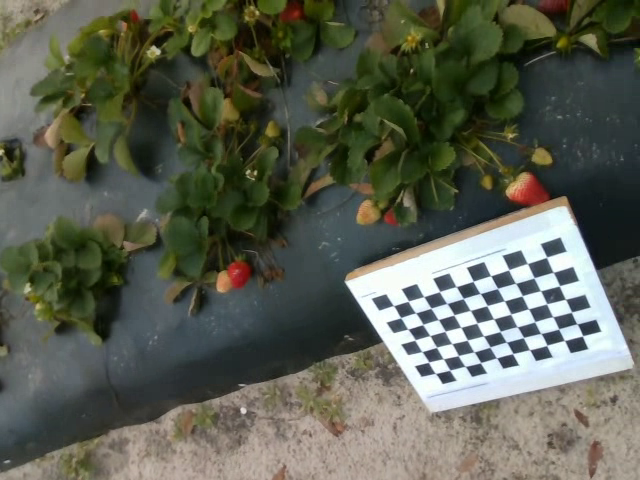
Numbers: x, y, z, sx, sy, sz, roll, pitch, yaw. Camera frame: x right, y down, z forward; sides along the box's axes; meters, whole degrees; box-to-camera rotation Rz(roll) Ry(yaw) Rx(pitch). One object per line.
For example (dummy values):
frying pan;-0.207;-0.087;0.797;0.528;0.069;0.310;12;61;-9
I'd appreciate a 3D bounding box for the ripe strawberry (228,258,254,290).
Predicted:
ripe strawberry;-0.113;0.047;0.777;0.034;0.042;0.033;7;-28;10
